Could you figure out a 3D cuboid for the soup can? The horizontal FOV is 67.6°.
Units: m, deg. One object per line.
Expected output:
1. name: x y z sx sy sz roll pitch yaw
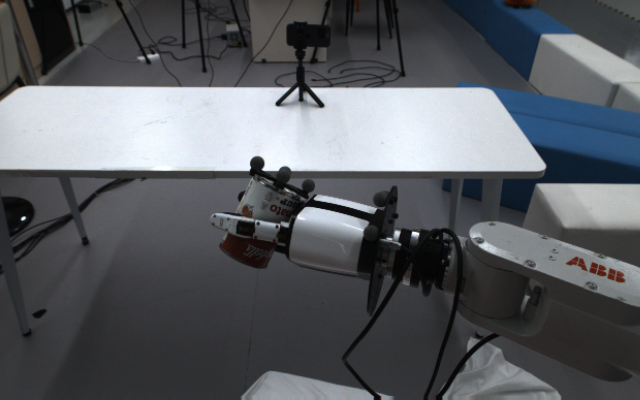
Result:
1. soup can: -0.074 0.027 0.612 0.067 0.101 0.067 26 6 -3
